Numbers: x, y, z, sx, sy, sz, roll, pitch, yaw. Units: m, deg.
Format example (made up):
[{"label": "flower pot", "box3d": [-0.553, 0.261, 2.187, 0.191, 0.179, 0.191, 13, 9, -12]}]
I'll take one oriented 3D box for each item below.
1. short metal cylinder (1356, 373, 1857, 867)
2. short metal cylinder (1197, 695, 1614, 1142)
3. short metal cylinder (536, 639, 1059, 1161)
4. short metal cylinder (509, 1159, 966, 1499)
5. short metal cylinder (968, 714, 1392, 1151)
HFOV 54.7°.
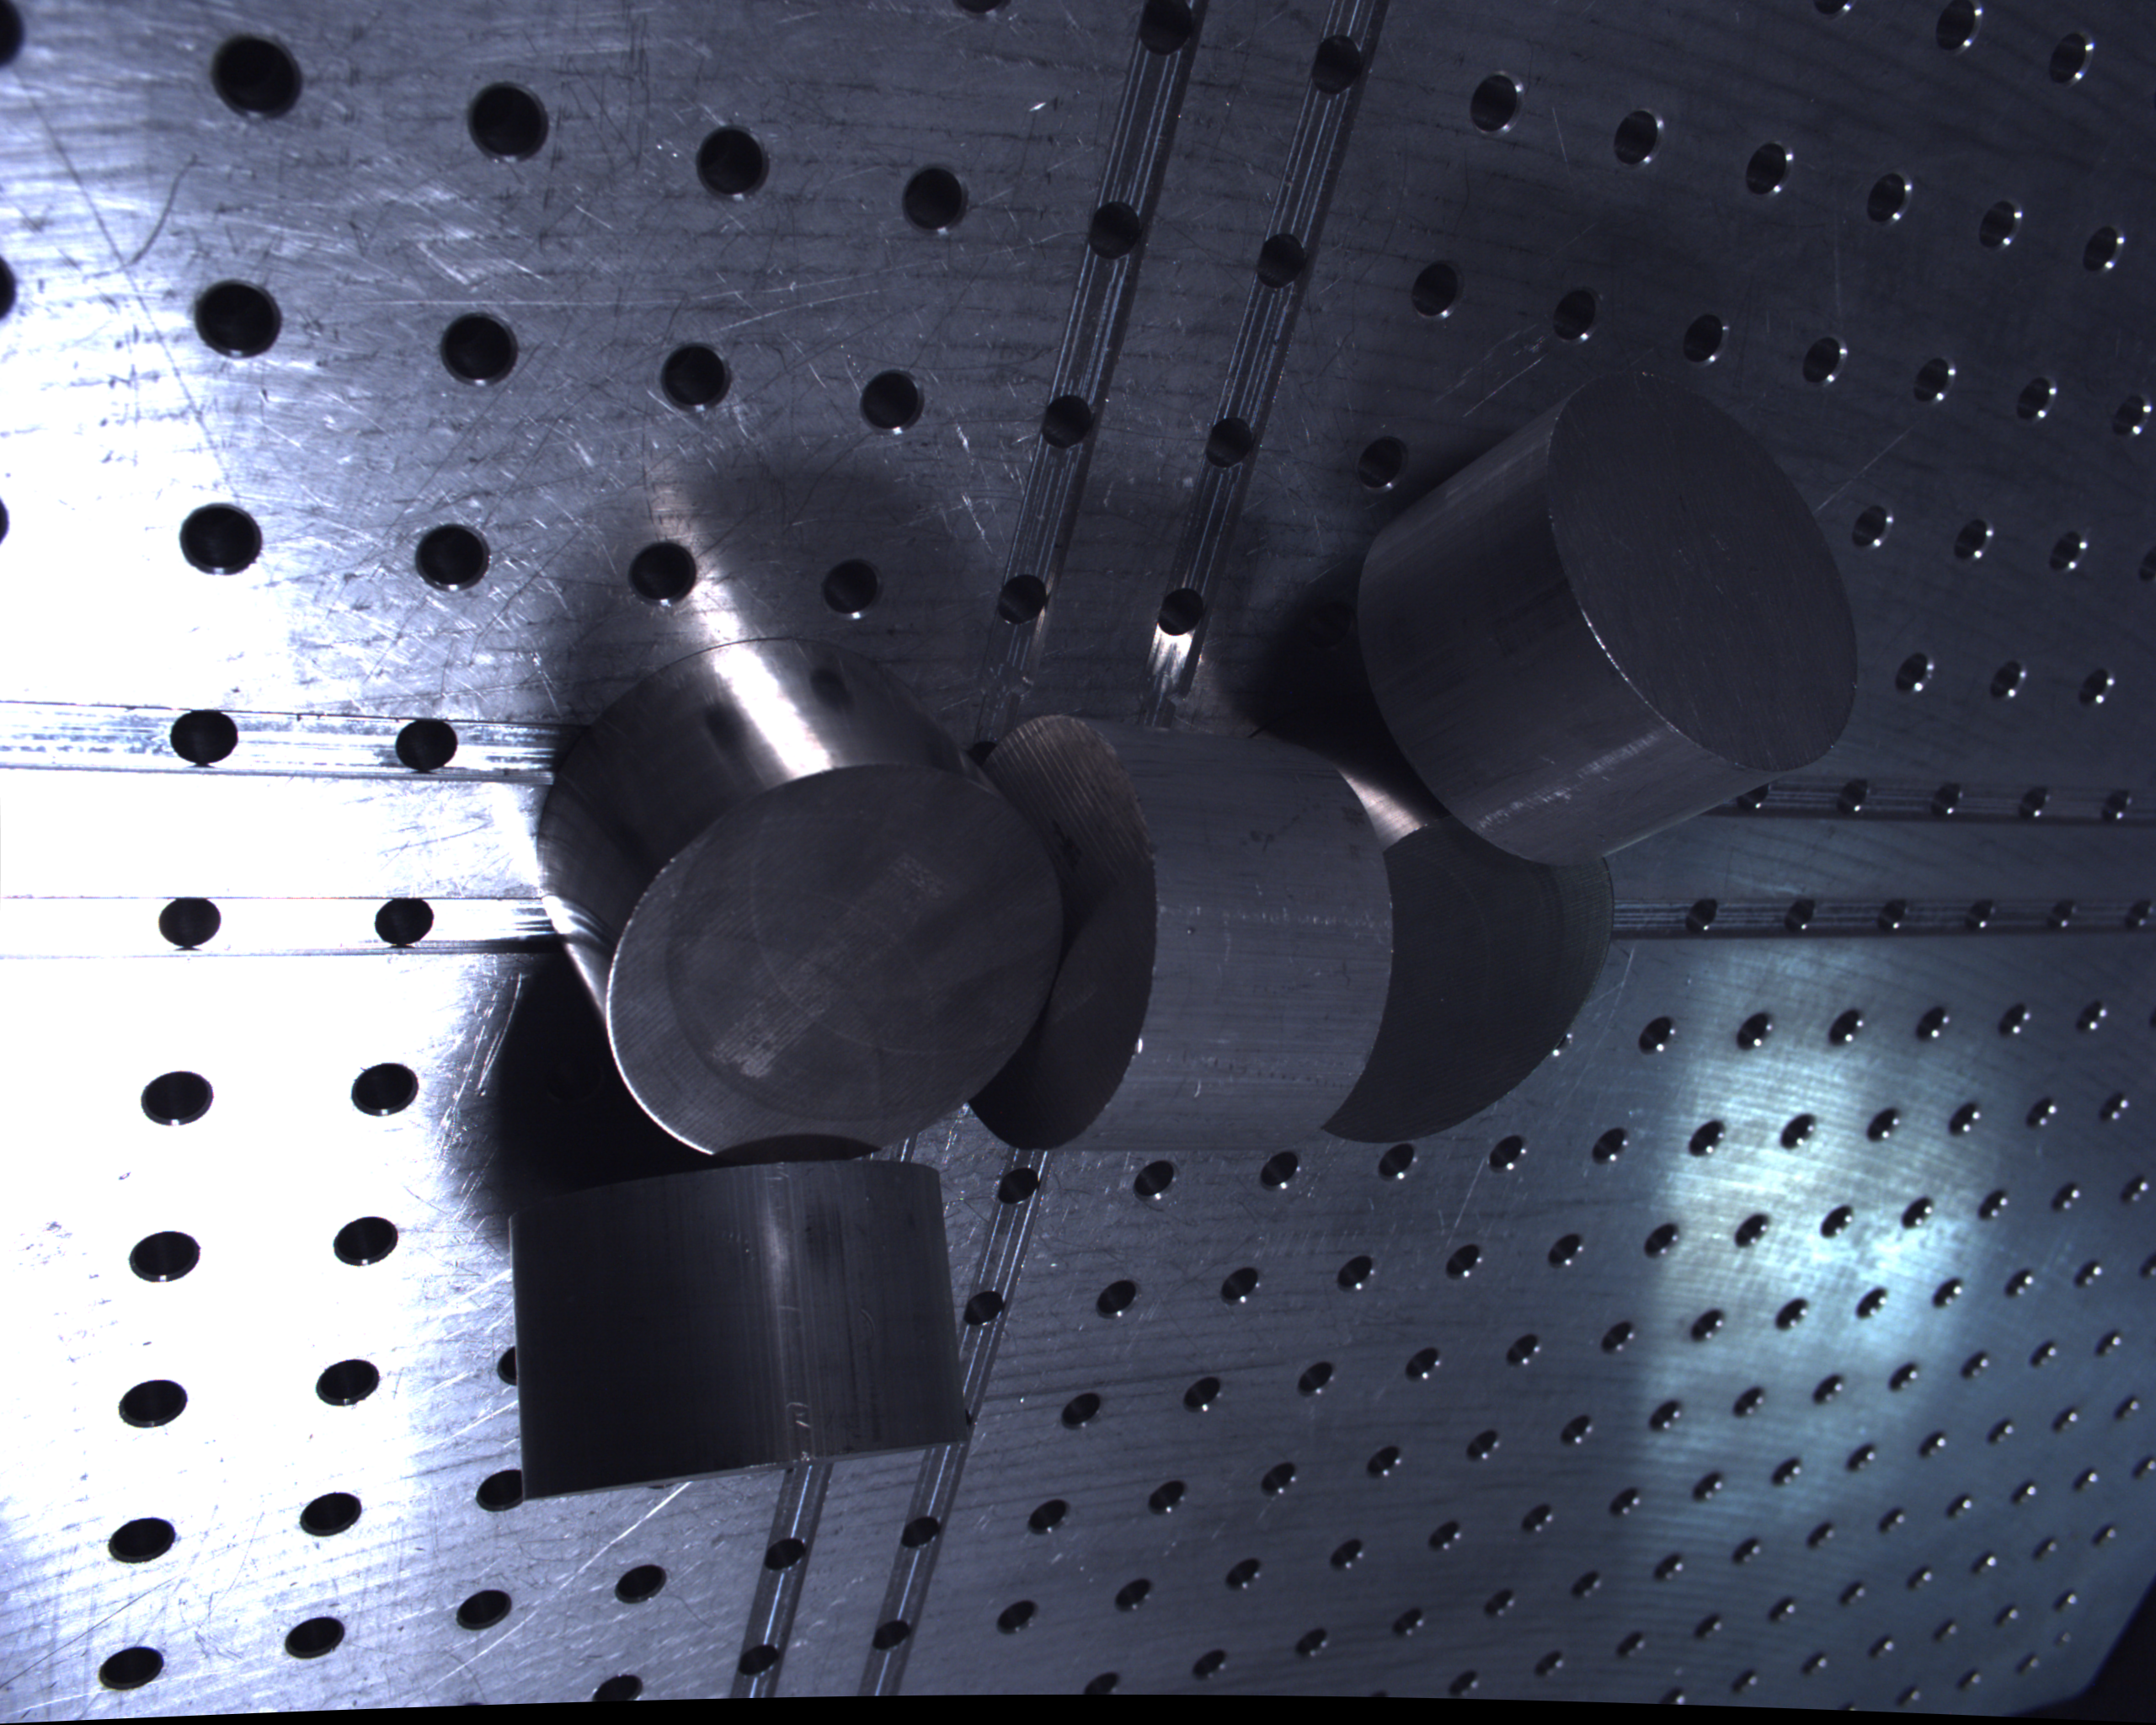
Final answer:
[{"label": "short metal cylinder", "box3d": [0.100, -0.045, 0.396, 0.081, 0.080, 0.050, 9, 156, -33]}, {"label": "short metal cylinder", "box3d": [0.064, 0.011, 0.438, 0.081, 0.050, 0.079, -14, 125, -21]}, {"label": "short metal cylinder", "box3d": [-0.050, 0.007, 0.372, 0.081, 0.050, 0.079, -14, 125, -21]}, {"label": "short metal cylinder", "box3d": [-0.063, 0.088, 0.389, 0.081, 0.050, 0.080, -7, 164, -2]}, {"label": "short metal cylinder", "box3d": [0.014, 0.014, 0.393, 0.050, 0.080, 0.079, 5, 116, -31]}]
